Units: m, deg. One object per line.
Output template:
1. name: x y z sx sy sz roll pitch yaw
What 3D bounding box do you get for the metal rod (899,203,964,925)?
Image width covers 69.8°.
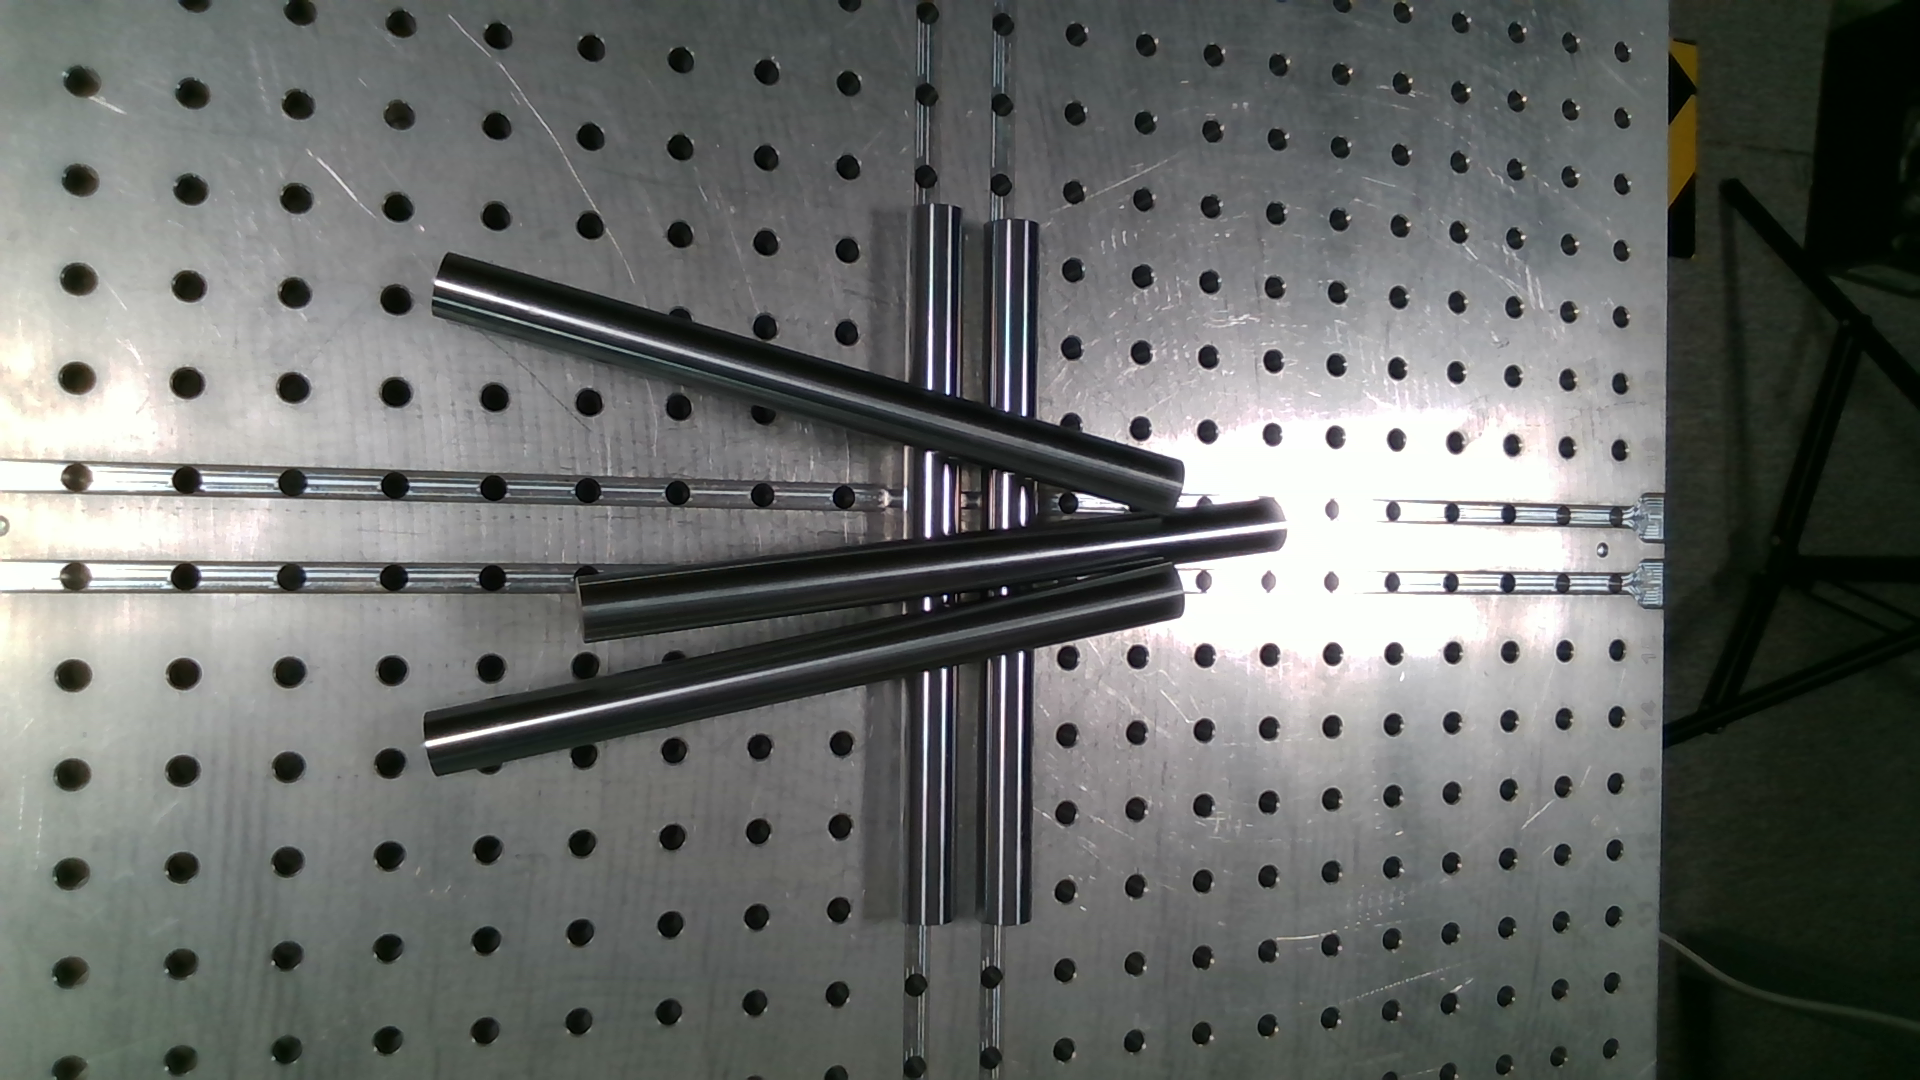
1. metal rod: -0.012 0.010 0.584 0.025 0.025 0.300 1 90 -20

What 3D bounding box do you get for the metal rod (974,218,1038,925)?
1. metal rod: 0.020 0.013 0.596 0.025 0.025 0.300 1 90 -20

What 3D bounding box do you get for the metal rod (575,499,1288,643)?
1. metal rod: -0.001 0.010 0.562 0.300 0.025 0.025 -7 92 -20

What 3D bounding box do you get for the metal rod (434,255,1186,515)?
1. metal rod: -0.052 -0.059 0.549 0.300 0.025 0.025 14 85 -13

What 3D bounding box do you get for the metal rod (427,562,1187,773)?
1. metal rod: -0.053 0.048 0.549 0.300 0.025 0.025 -11 94 -13
